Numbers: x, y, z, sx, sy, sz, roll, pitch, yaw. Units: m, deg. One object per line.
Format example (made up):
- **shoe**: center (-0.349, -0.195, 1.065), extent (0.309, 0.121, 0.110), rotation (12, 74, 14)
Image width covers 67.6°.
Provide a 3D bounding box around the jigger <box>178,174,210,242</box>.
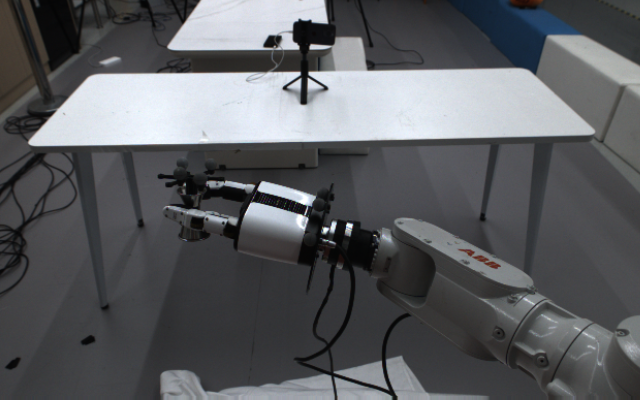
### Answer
- **jigger**: center (-0.176, 0.017, 0.673), extent (0.043, 0.071, 0.043), rotation (2, 20, -1)
